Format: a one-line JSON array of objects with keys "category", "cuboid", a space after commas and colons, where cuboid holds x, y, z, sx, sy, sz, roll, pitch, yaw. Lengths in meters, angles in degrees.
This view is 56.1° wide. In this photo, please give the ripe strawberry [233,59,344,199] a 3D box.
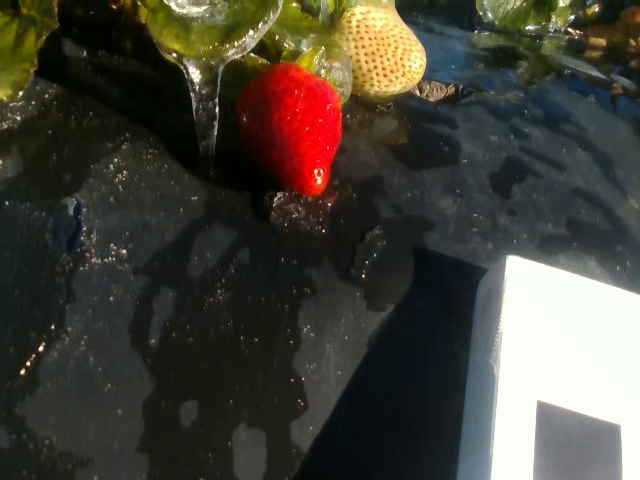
[{"category": "ripe strawberry", "cuboid": [-0.004, -0.038, 0.184, 0.041, 0.052, 0.040, 3, -36, -13]}]
